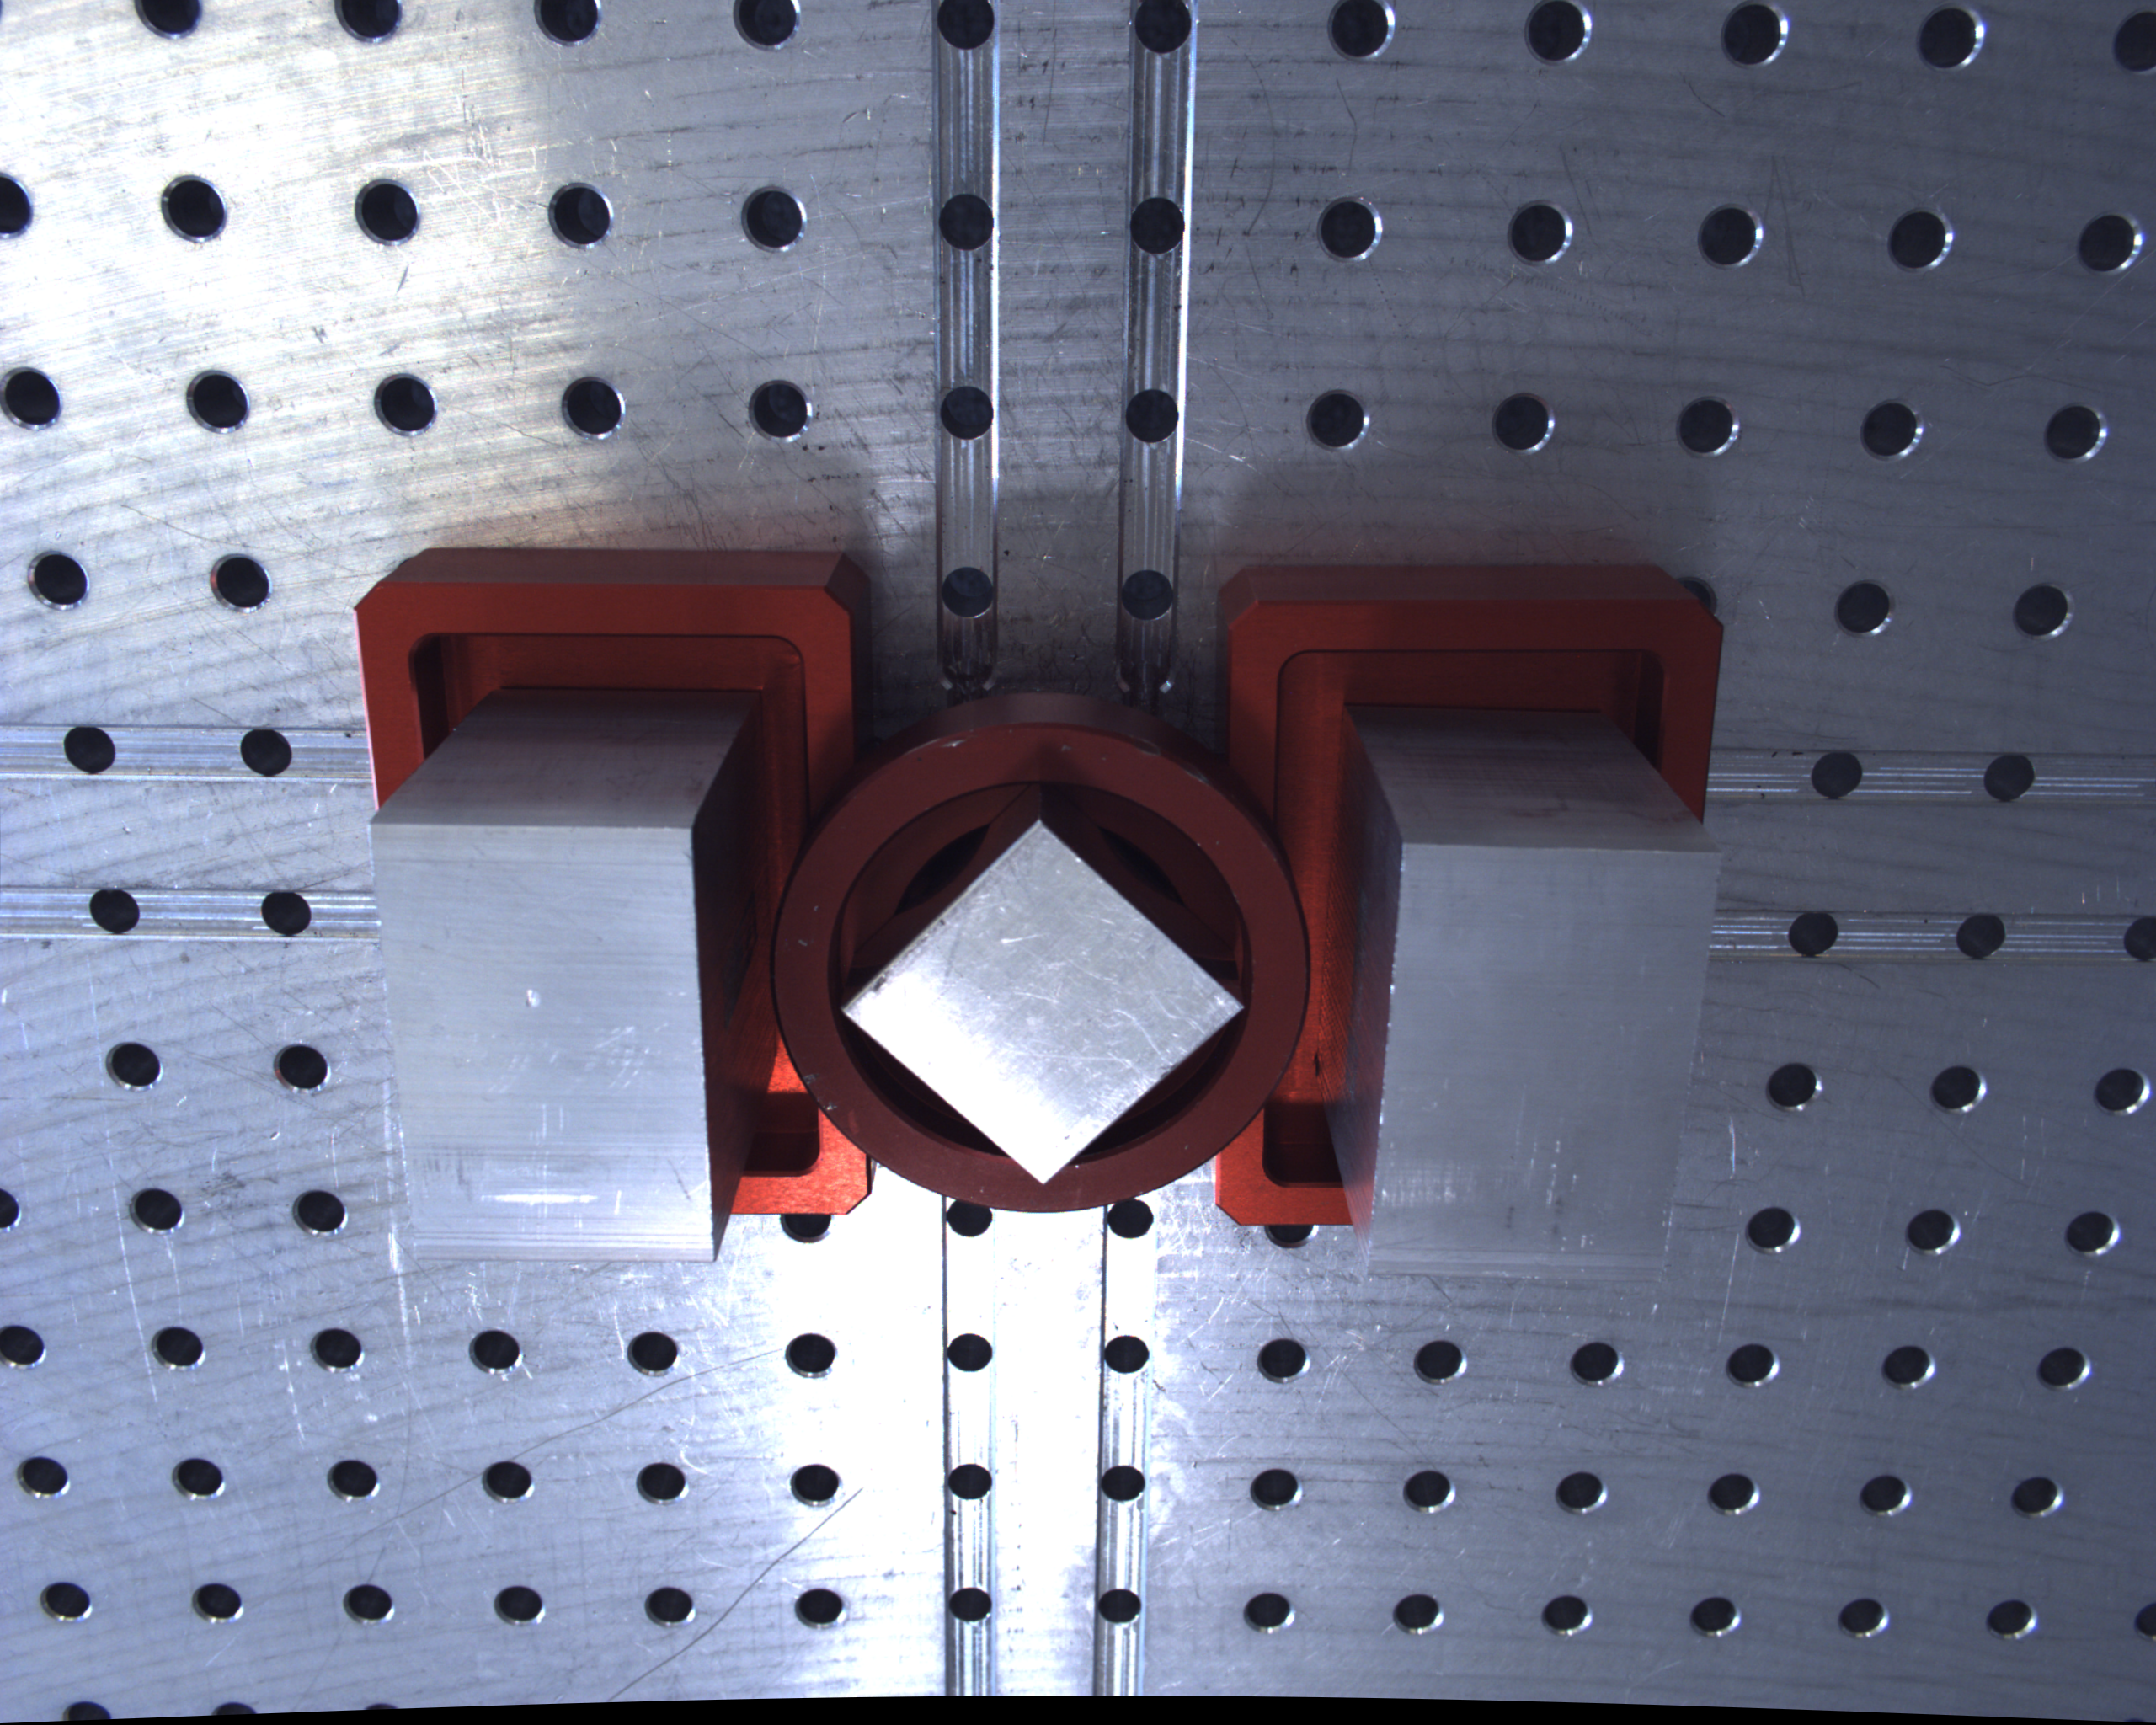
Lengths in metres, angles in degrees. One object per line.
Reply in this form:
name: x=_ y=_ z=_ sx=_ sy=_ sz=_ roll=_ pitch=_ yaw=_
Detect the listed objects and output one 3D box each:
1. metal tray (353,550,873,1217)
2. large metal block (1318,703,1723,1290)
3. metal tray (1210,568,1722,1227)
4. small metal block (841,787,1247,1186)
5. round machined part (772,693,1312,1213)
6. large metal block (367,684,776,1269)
metal tray: x=-0.086 y=0.005 z=0.411 sx=0.091 sy=0.030 sz=0.129 roll=1 pitch=110 yaw=-1
large metal block: x=0.075 y=0.021 z=0.378 sx=0.050 sy=0.080 sz=0.079 roll=1 pitch=110 yaw=-1
metal tray: x=0.072 y=0.008 z=0.413 sx=0.091 sy=0.030 sz=0.129 roll=0 pitch=110 yaw=0
small metal block: x=-0.006 y=0.021 z=0.378 sx=0.050 sy=0.025 sz=0.050 roll=43 pitch=104 yaw=-14
round machined part: x=-0.007 y=0.014 z=0.400 sx=0.099 sy=0.042 sz=0.097 roll=0 pitch=110 yaw=0
large metal block: x=-0.086 y=0.017 z=0.375 sx=0.050 sy=0.080 sz=0.079 roll=1 pitch=110 yaw=0
